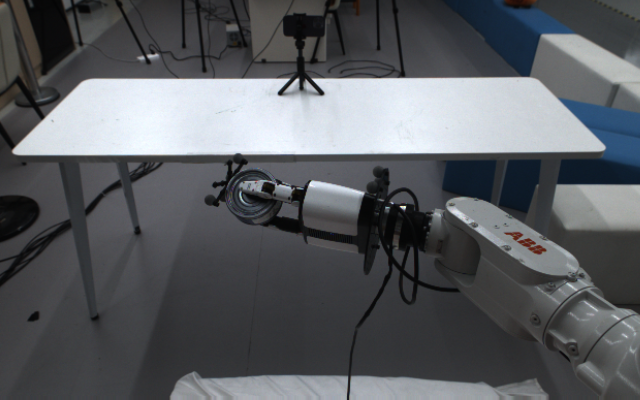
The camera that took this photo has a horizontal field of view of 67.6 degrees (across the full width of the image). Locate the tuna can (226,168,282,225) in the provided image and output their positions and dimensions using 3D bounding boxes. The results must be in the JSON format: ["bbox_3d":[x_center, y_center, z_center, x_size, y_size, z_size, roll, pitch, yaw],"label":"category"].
[{"bbox_3d":[-0.099,-0.003,0.746,0.085,0.034,0.085,-2,73,6],"label":"tuna can"}]
